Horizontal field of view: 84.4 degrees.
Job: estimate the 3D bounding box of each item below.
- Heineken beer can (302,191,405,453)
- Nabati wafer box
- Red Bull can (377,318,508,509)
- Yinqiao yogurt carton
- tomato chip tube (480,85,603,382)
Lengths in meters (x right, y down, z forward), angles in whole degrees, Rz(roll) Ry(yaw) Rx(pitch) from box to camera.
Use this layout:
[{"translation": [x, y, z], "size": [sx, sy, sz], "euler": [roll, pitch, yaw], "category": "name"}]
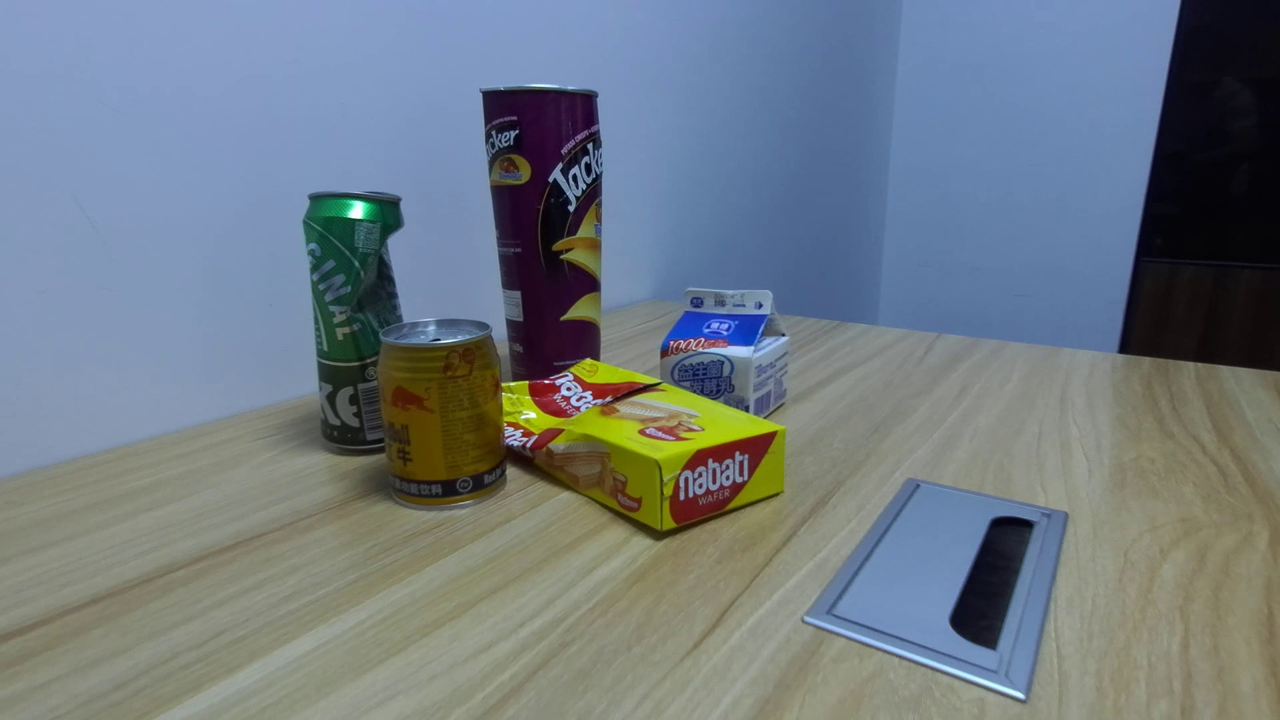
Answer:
[{"translation": [-0.181, -0.024, 0.457], "size": [0.066, 0.164, 0.078], "euler": [13, 17, 34], "category": "Heineken beer can"}, {"translation": [-0.020, 0.043, 0.439], "size": [0.107, 0.042, 0.203], "euler": [-10, 17, -36], "category": "Nabati wafer box"}, {"translation": [-0.110, 0.028, 0.397], "size": [0.067, 0.093, 0.067], "euler": [1, 15, 0], "category": "Red Bull can"}, {"translation": [0.063, -0.008, 0.520], "size": [0.075, 0.092, 0.074], "euler": [8, 18, 31], "category": "Yinqiao yogurt carton"}, {"translation": [-0.073, -0.095, 0.576], "size": [0.077, 0.235, 0.076], "euler": [3, 15, 18], "category": "tomato chip tube"}]
